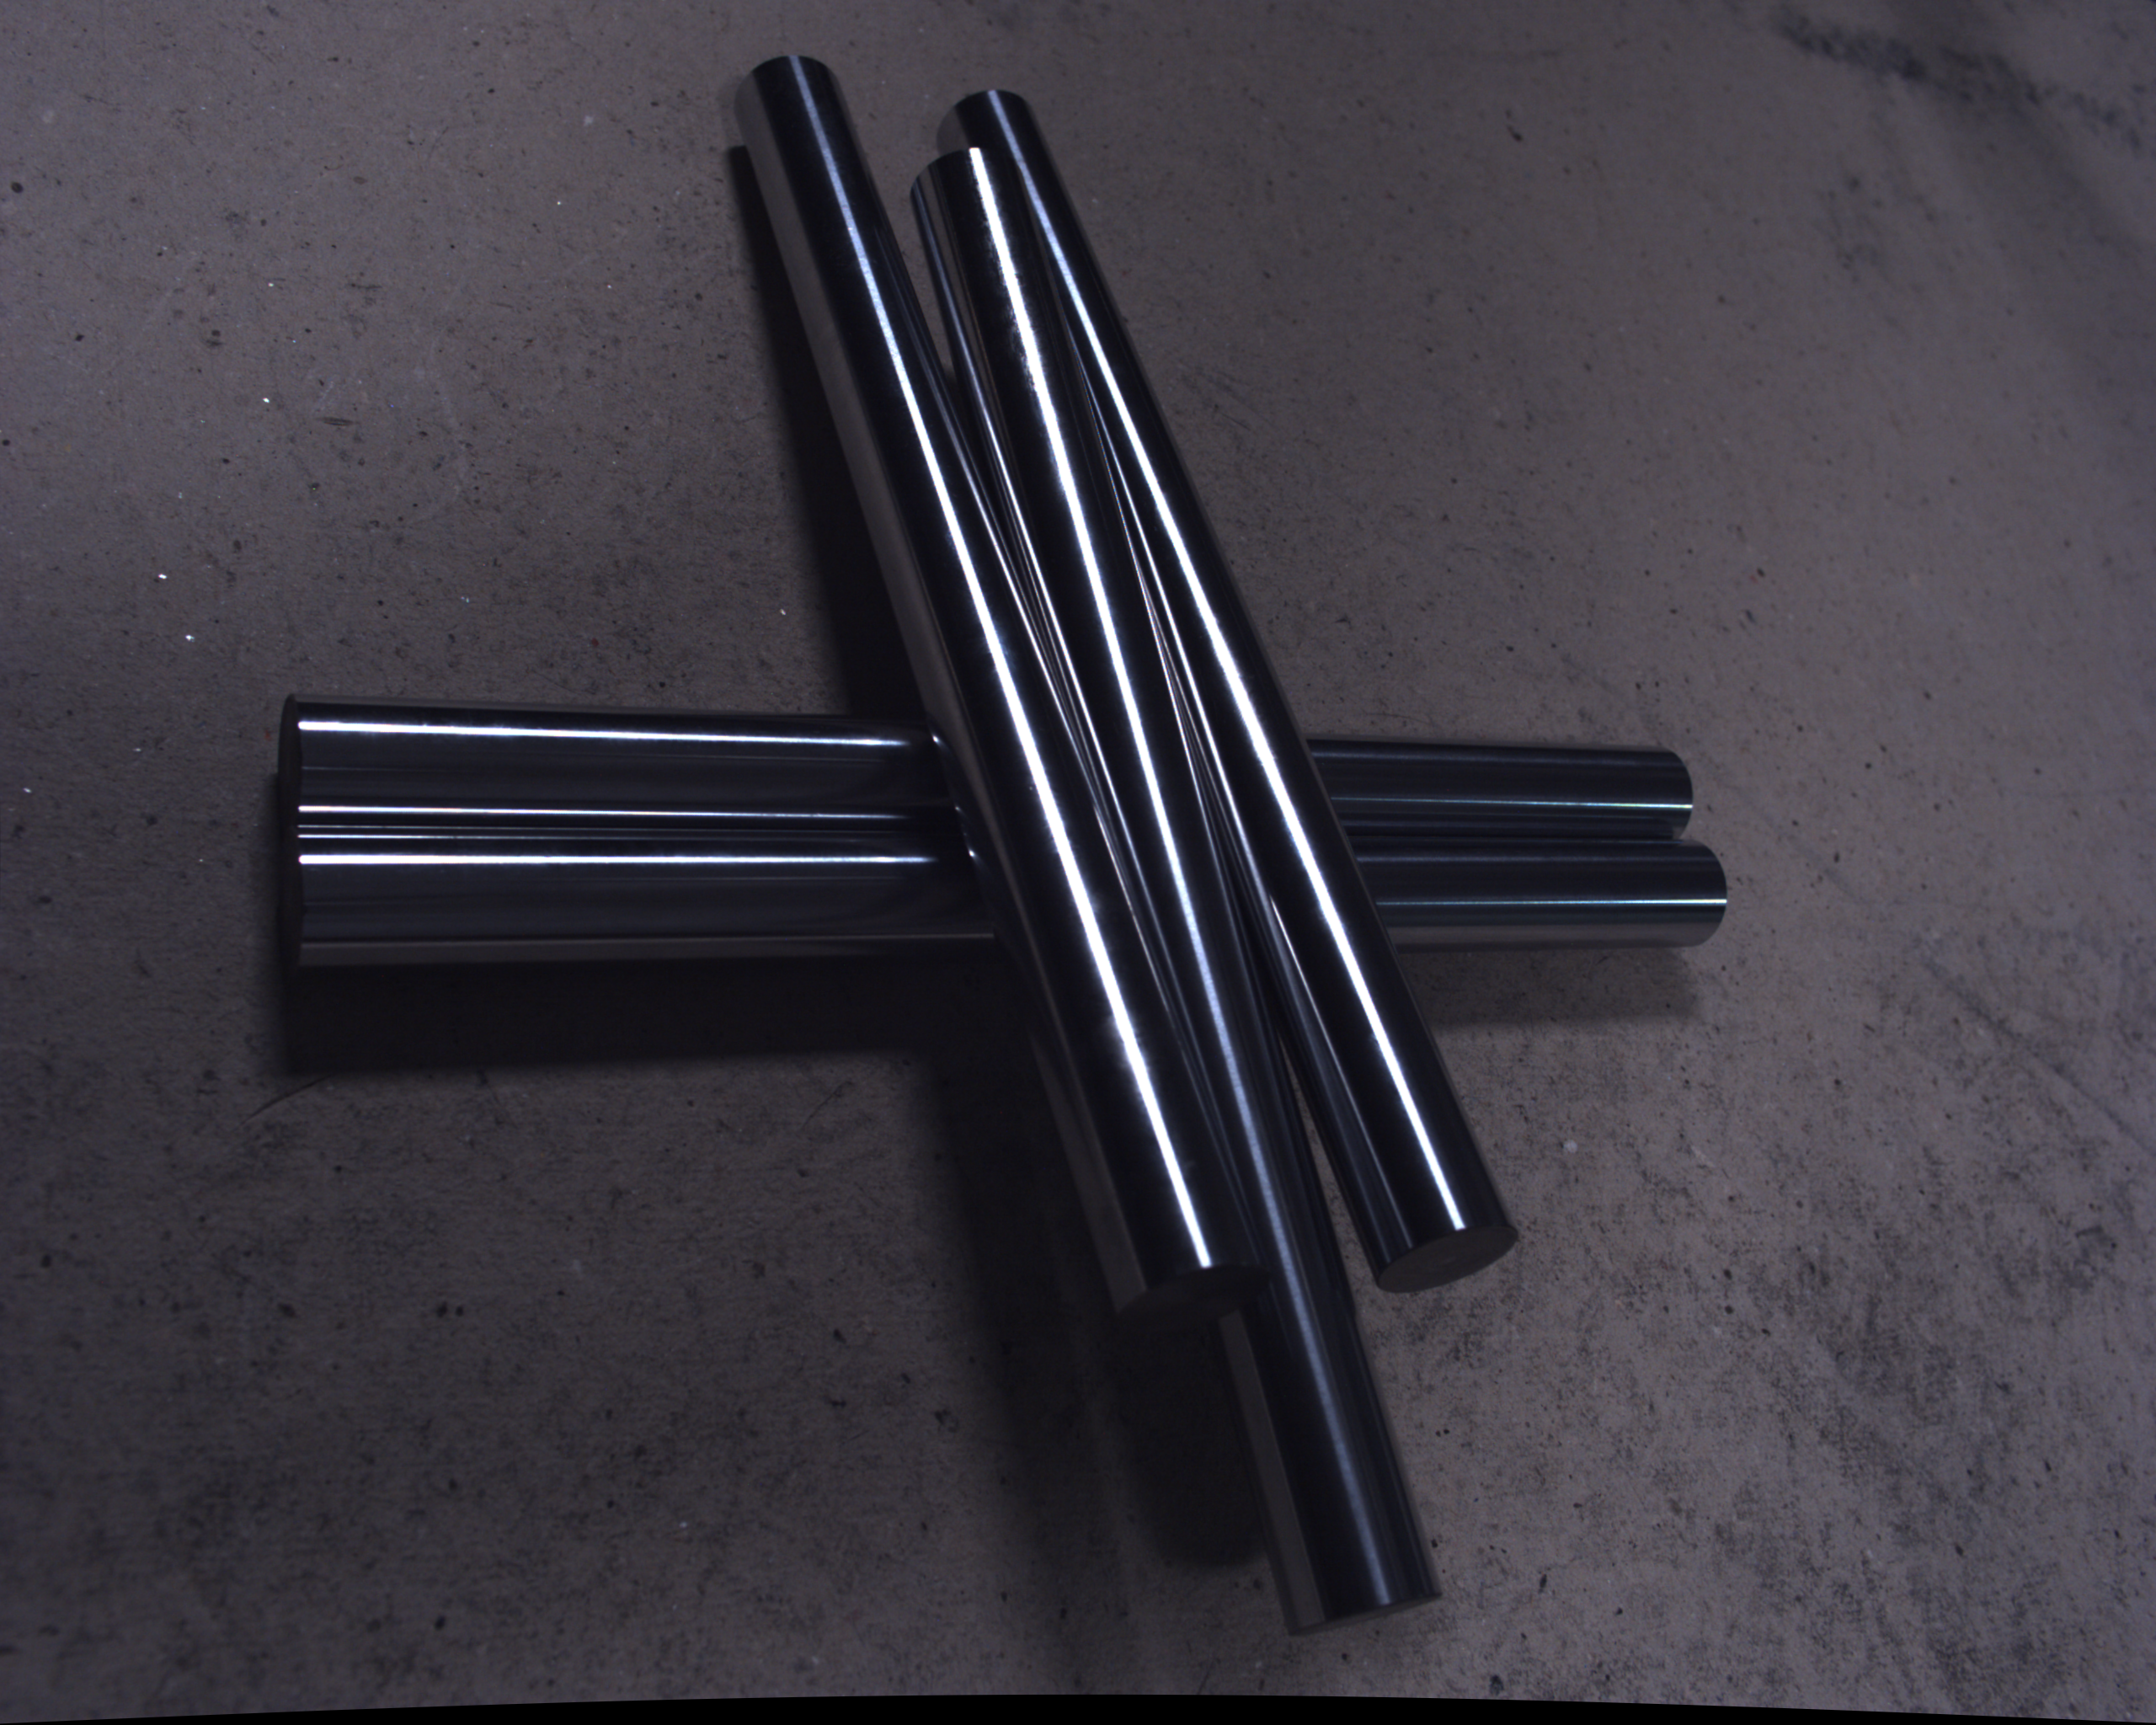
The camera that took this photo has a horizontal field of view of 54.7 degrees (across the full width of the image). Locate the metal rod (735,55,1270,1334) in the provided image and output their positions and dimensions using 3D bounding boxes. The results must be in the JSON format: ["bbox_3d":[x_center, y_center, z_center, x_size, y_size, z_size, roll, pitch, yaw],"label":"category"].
[{"bbox_3d":[-0.024,-0.053,0.399,0.025,0.025,0.299,0,54,-29],"label":"metal rod"}]

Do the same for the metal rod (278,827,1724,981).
[{"bbox_3d":[0.006,0.007,0.407,0.303,0.025,0.025,0,62,-29],"label":"metal rod"}]

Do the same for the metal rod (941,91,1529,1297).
[{"bbox_3d":[0.021,-0.054,0.424,0.025,0.025,0.299,0,54,-29],"label":"metal rod"}]

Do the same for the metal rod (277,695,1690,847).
[{"bbox_3d":[0.002,-0.015,0.418,0.303,0.025,0.025,0,62,-29],"label":"metal rod"}]

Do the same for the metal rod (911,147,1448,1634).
[{"bbox_3d":[0.011,-0.014,0.388,0.025,0.025,0.299,0,62,-29],"label":"metal rod"}]
